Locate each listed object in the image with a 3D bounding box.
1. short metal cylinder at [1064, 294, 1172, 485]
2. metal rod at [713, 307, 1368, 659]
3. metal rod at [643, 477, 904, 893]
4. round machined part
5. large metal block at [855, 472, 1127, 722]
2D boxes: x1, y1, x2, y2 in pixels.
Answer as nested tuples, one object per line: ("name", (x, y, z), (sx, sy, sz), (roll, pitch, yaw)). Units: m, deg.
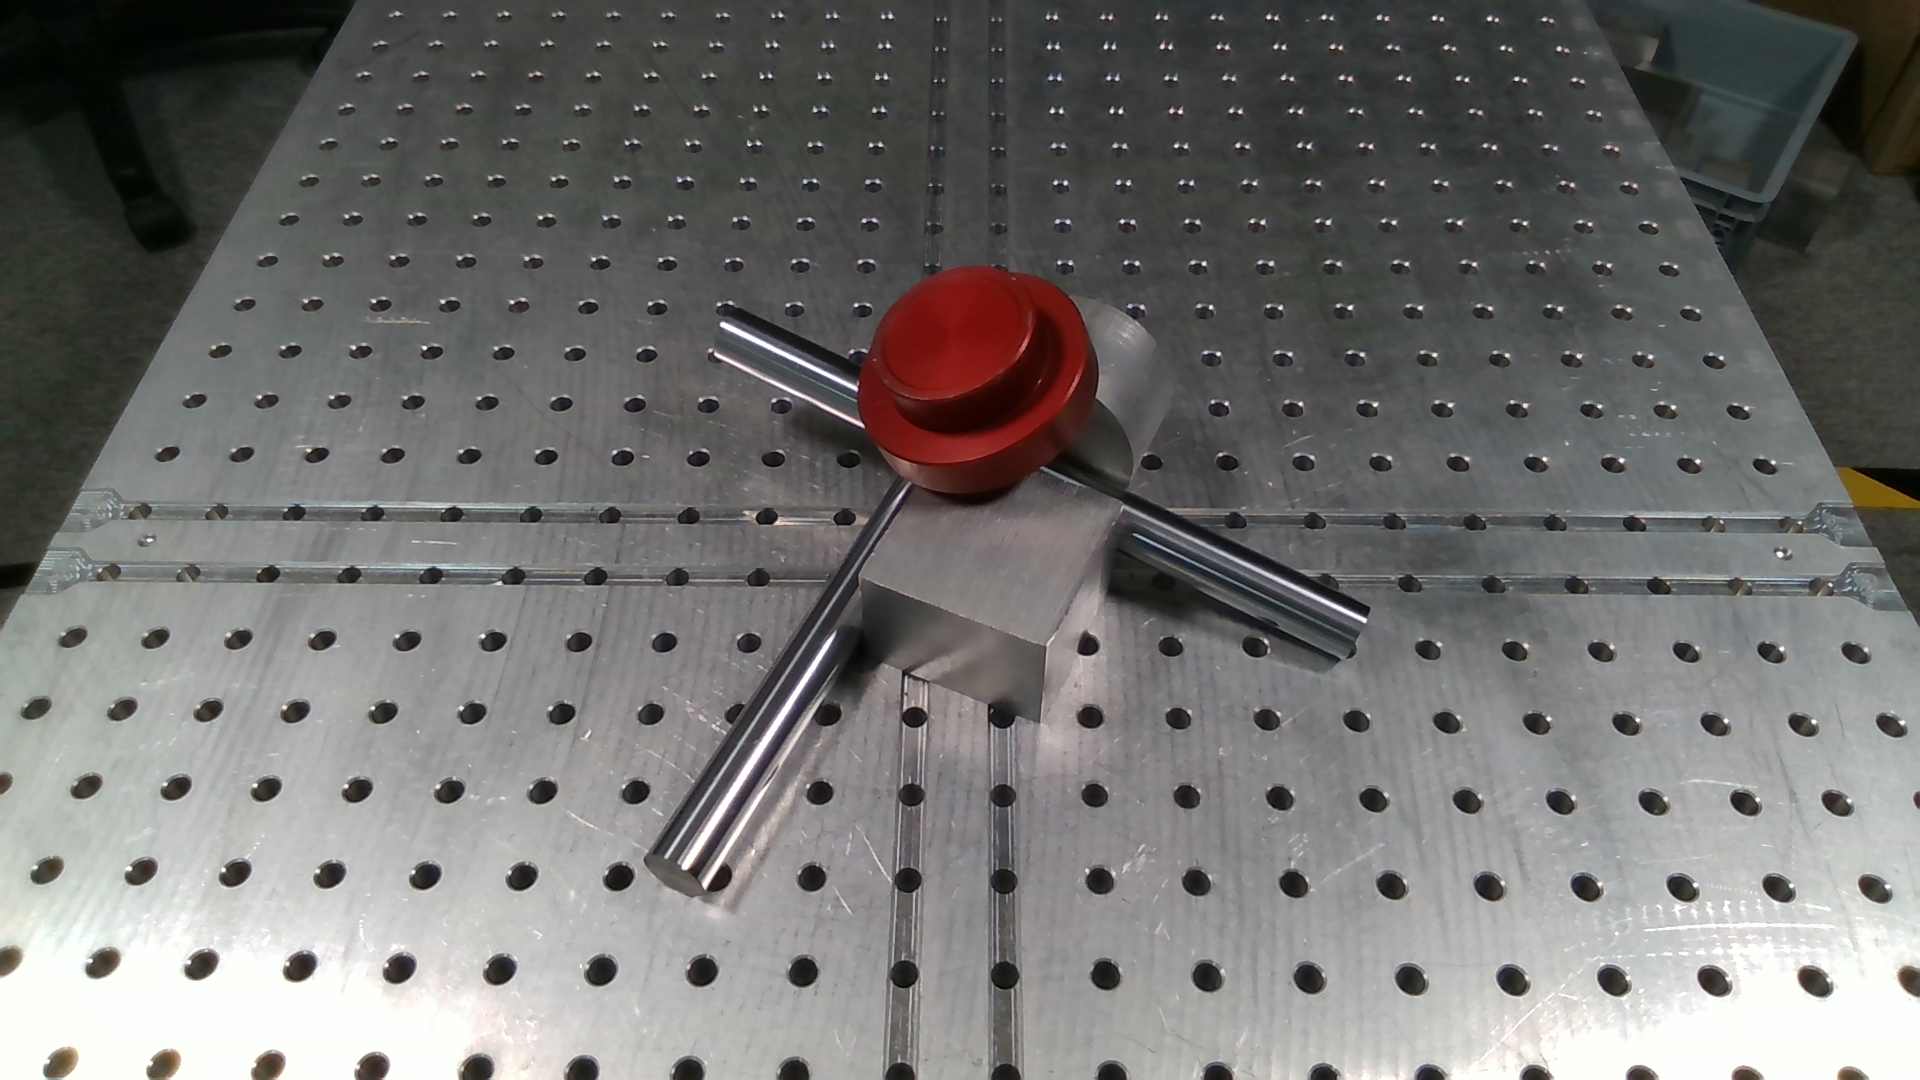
("short metal cylinder", (0.047, -0.060, 0.604), (0.080, 0.080, 0.050), (19, 53, 16))
("metal rod", (0.028, -0.028, 0.588), (0.300, 0.025, 0.025), (26, 55, 11))
("metal rod", (-0.039, 0.015, 0.577), (0.025, 0.025, 0.299), (19, 53, 16))
("round machined part", (0.003, -0.071, 0.553), (0.098, 0.042, 0.098), (-11, 56, 17))
("large metal block", (0.013, 0.015, 0.557), (0.080, 0.050, 0.080), (20, 53, 16))
